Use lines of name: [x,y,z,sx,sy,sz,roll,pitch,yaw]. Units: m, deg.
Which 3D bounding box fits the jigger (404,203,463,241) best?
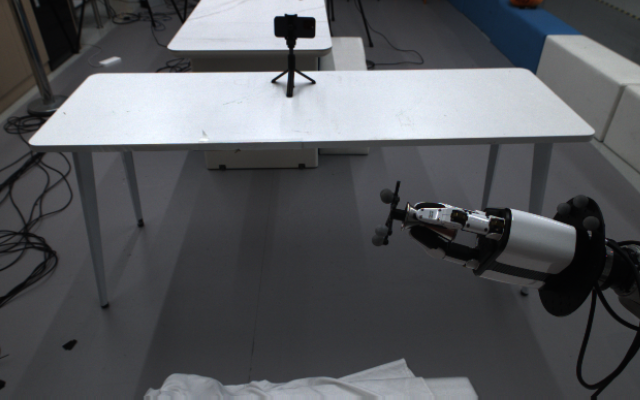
jigger: [0.152,0.025,0.644,0.071,0.043,0.043,13,36,3]
